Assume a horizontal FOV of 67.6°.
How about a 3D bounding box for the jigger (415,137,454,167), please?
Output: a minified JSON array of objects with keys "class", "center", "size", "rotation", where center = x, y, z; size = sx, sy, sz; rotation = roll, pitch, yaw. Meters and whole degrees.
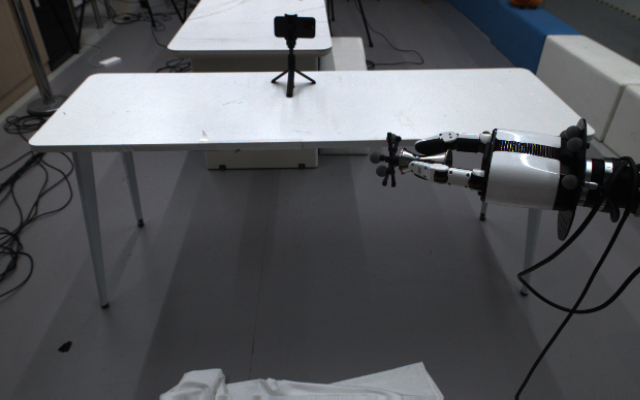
[{"class":"jigger","center":[0.159,-0.061,0.701],"size":[0.071,0.043,0.043],"rotation":[5,33,27]}]
